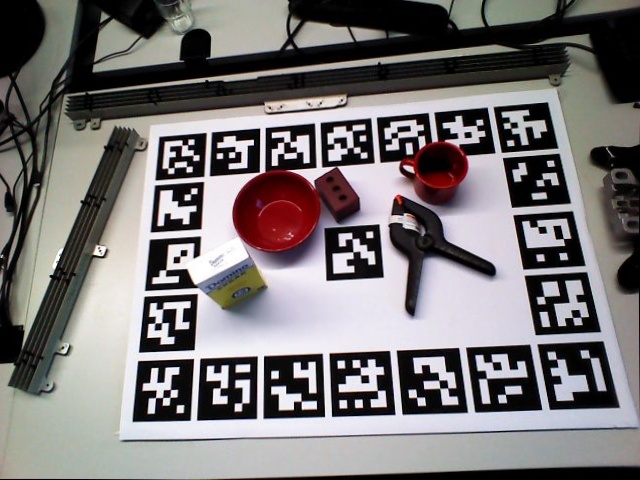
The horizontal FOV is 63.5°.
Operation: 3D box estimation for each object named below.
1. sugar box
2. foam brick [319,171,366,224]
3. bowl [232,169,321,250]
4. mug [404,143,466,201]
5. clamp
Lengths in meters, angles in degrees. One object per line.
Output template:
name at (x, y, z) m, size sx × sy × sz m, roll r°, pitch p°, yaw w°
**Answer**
sugar box at (-0.149, 0.064, 0.844) m, size 0.093 × 0.177 × 0.045 m, roll -28°, pitch 71°, yaw -5°
foam brick at (0.040, -0.079, 0.943) m, size 0.053 × 0.051 × 0.078 m, roll -31°, pitch 71°, yaw -3°
bowl at (-0.075, -0.046, 0.938) m, size 0.162 × 0.055 × 0.161 m, roll -2°, pitch 70°, yaw 5°
mug at (0.206, -0.124, 0.914) m, size 0.117 × 0.081 × 0.093 m, roll 21°, pitch 74°, yaw 10°
clamp at (0.181, 0.005, 0.891) m, size 0.165 × 0.037 × 0.202 m, roll -27°, pitch 70°, yaw -1°
